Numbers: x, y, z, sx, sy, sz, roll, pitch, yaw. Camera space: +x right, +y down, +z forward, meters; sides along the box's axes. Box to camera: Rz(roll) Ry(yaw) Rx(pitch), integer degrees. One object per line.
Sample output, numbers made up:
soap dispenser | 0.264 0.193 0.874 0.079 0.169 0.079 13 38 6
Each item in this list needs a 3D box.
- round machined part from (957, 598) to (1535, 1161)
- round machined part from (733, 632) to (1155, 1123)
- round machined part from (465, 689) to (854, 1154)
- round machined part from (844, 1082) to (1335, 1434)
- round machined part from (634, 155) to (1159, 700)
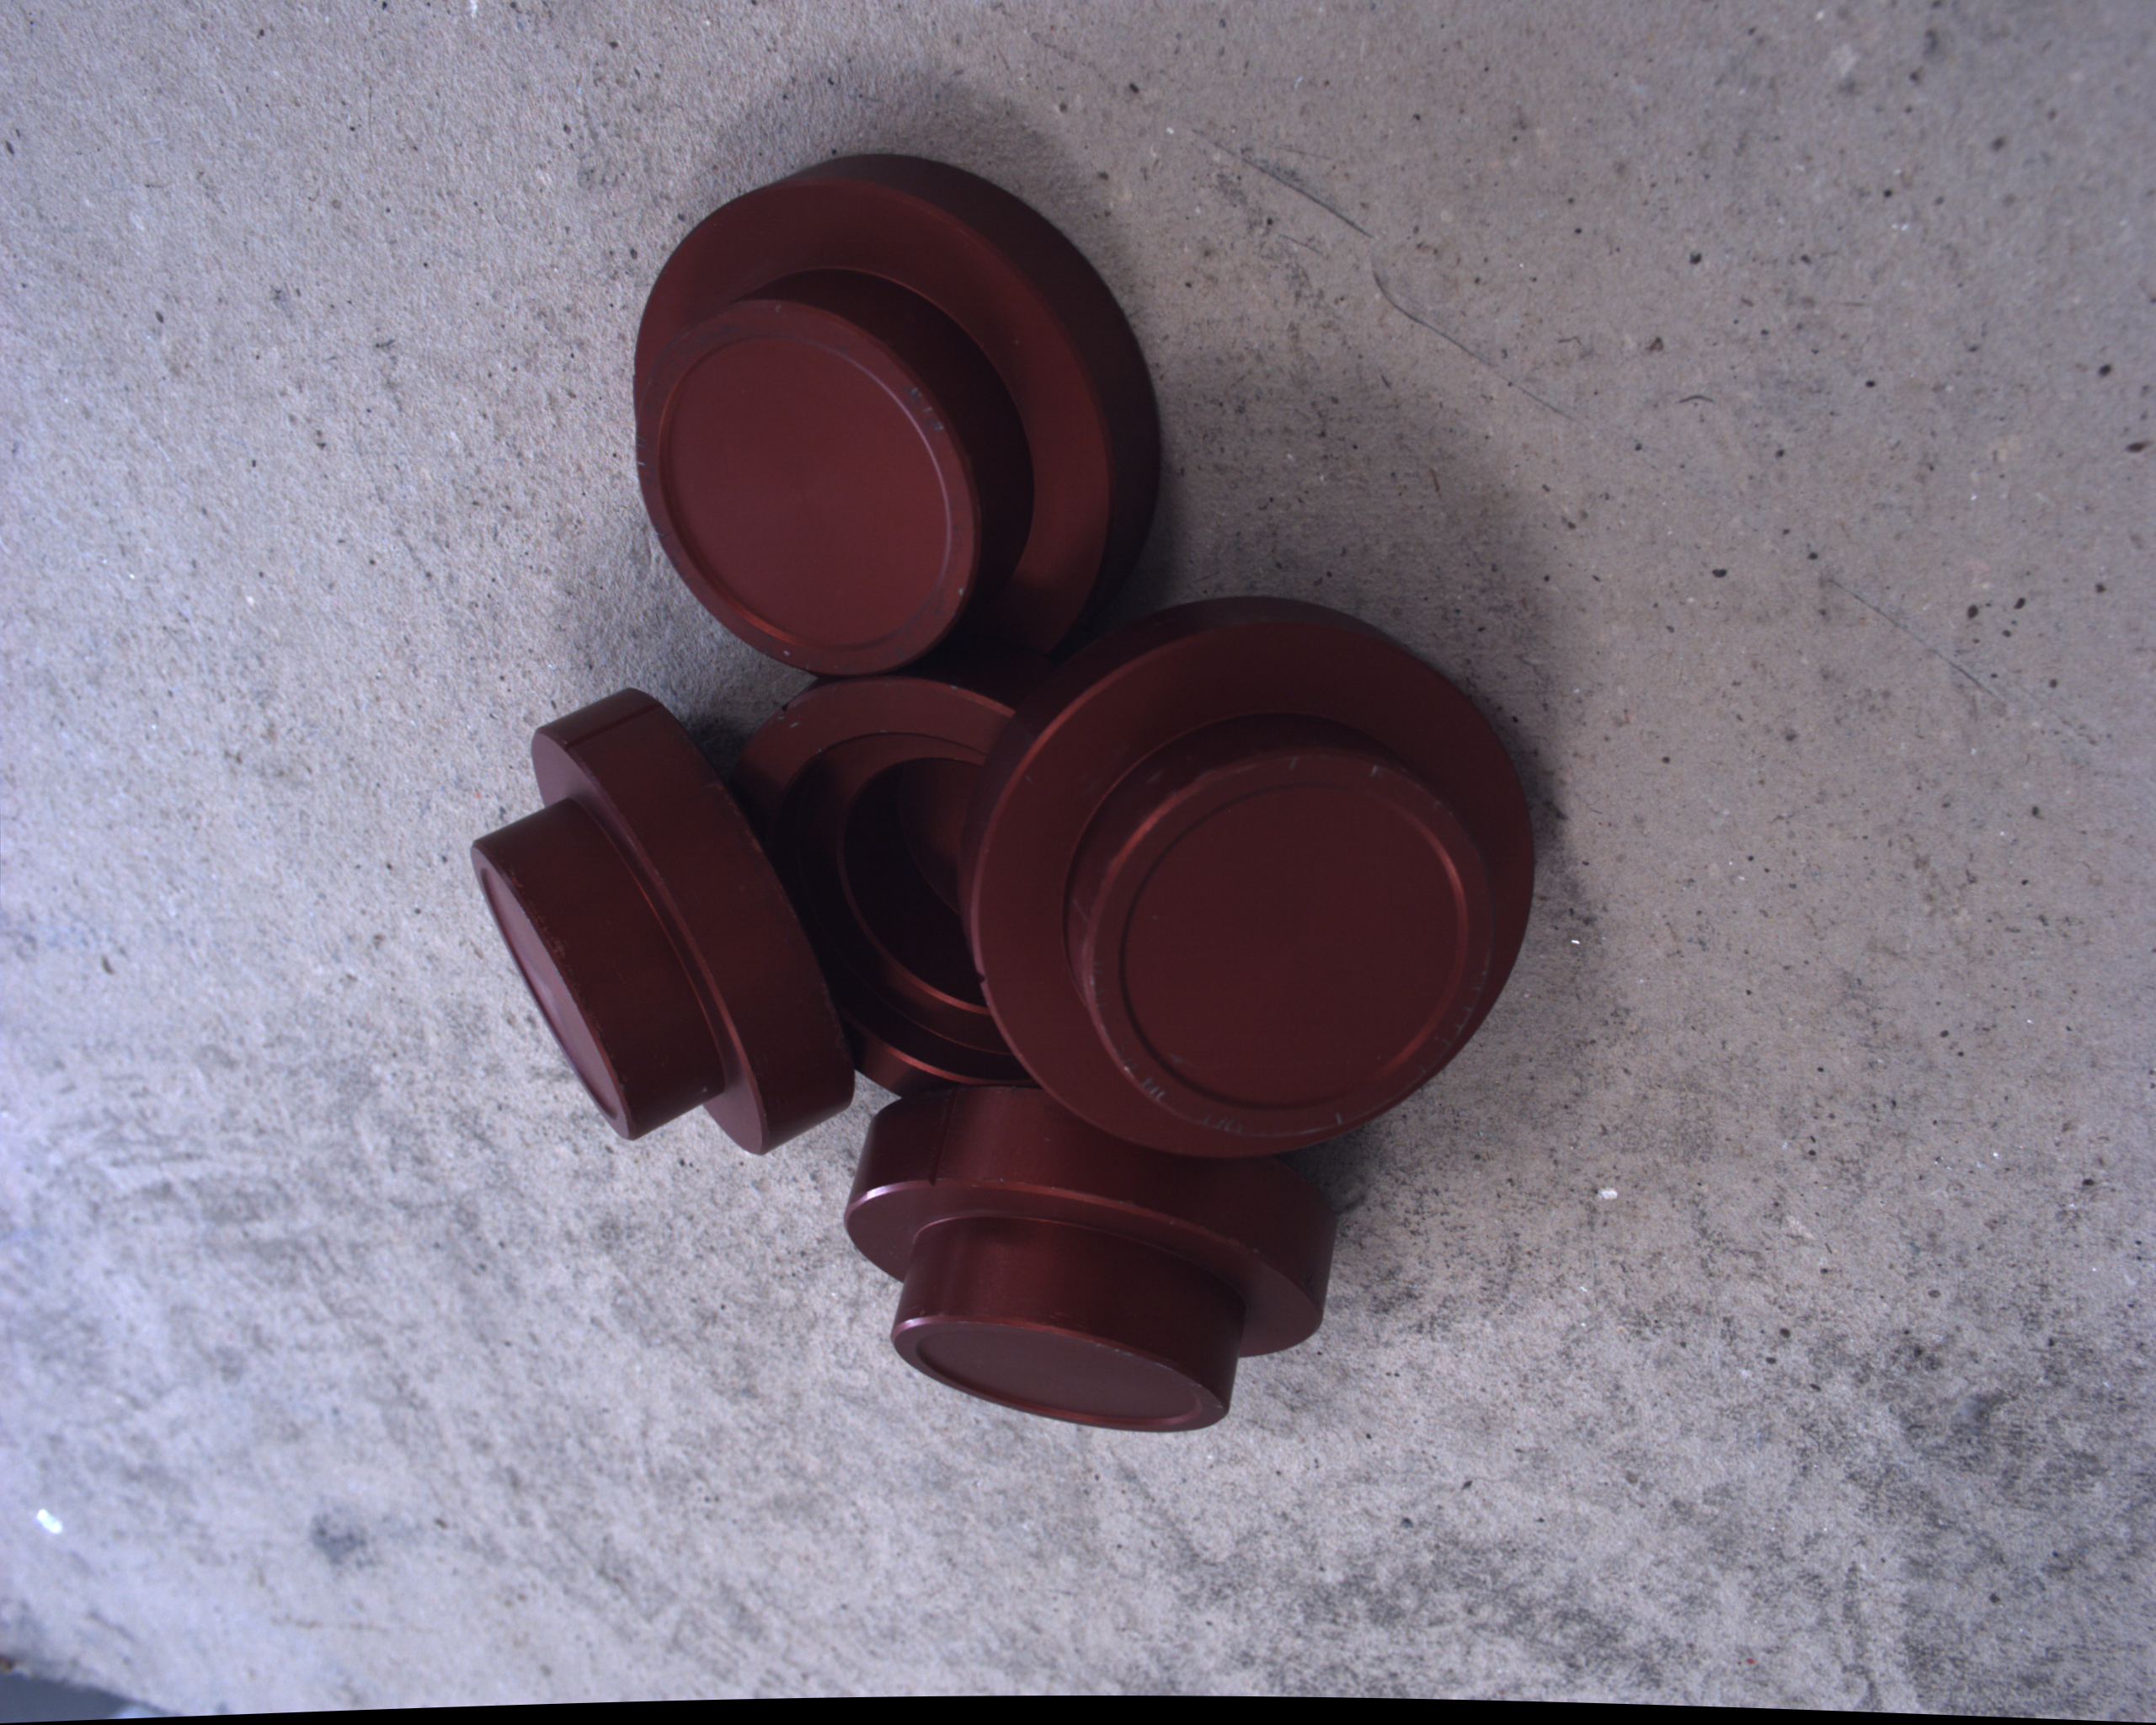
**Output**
round machined part | 0.031 0.007 0.353 0.099 0.042 0.097 -4 110 -9
round machined part | -0.016 0.000 0.406 0.098 0.042 0.097 14 124 23
round machined part | -0.089 0.017 0.424 0.098 0.042 0.097 47 155 31
round machined part | 0.000 0.084 0.422 0.098 0.042 0.098 10 152 6
round machined part | -0.039 -0.072 0.373 0.098 0.042 0.097 13 123 22
